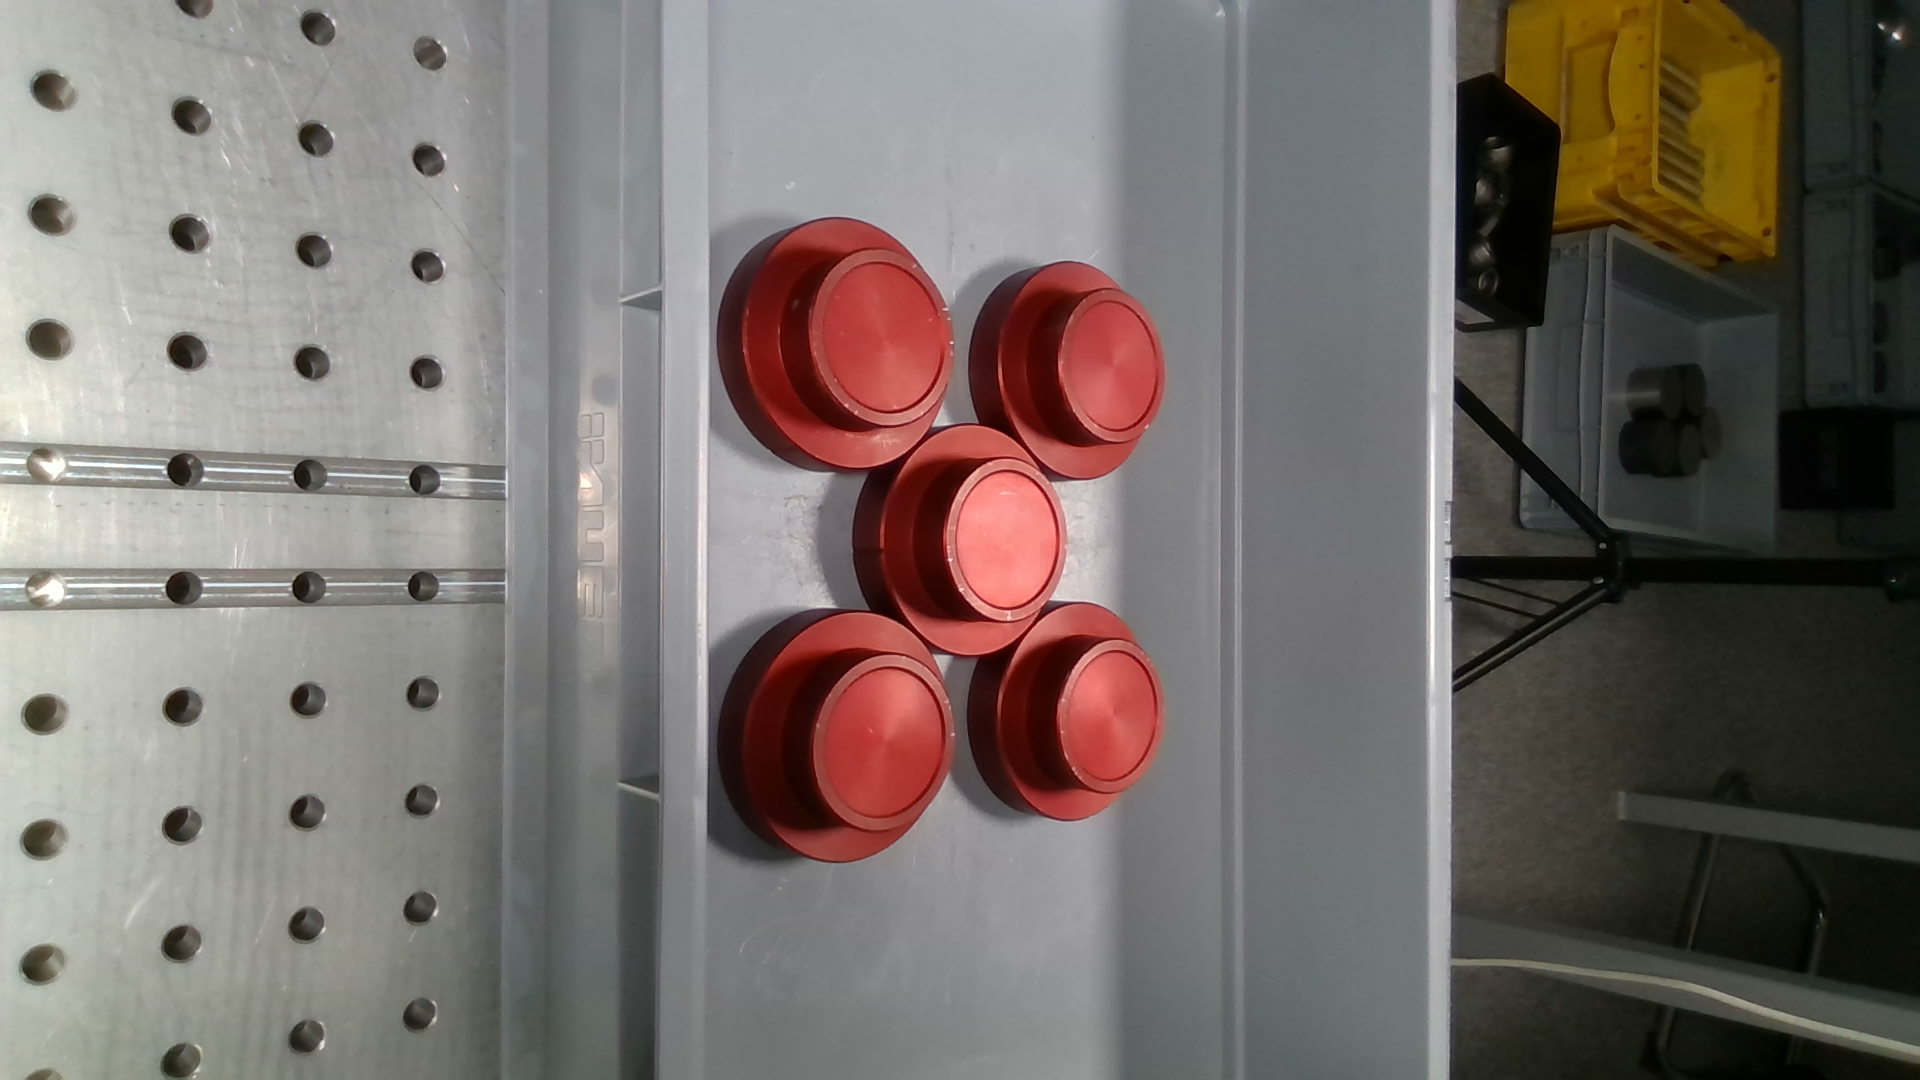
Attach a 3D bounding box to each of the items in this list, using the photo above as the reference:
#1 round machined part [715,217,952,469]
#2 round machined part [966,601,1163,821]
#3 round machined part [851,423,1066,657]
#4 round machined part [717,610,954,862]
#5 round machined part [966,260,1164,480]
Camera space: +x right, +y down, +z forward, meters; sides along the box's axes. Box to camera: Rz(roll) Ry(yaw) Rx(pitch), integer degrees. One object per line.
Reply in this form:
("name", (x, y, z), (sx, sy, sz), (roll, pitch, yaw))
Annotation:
("round machined part", (-0.042, -0.076, 0.535), (0.098, 0.042, 0.098), (0, 90, -40))
("round machined part", (0.053, 0.076, 0.616), (0.098, 0.042, 0.098), (0, 90, -40))
("round machined part", (0.006, 0.000, 0.575), (0.098, 0.042, 0.098), (0, 90, -40))
("round machined part", (-0.041, 0.076, 0.536), (0.098, 0.042, 0.098), (0, 90, -40))
("round machined part", (0.053, -0.076, 0.616), (0.098, 0.042, 0.098), (0, 90, -40))
